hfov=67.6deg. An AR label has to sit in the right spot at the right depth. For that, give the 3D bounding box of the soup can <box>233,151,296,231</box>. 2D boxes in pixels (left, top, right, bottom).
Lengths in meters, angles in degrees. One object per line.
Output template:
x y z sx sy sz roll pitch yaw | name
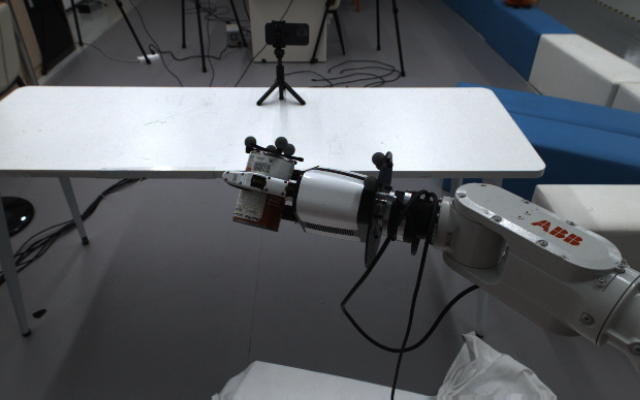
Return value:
-0.078 -0.011 0.681 0.067 0.101 0.067 13 -6 1 | soup can
